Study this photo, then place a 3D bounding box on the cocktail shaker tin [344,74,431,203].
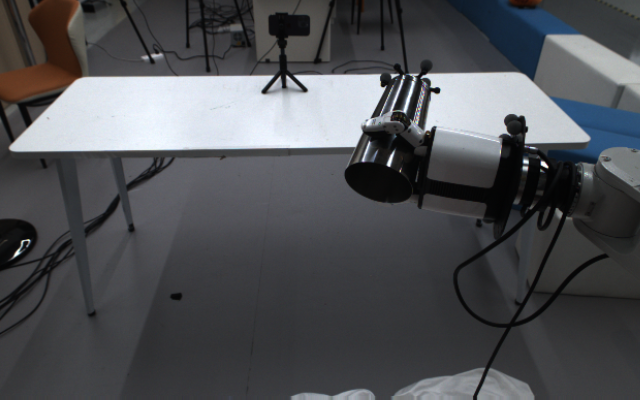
[{"bbox_3d":[0.102,-0.091,0.670,0.093,0.093,0.170,13,60,16],"label":"cocktail shaker tin"}]
